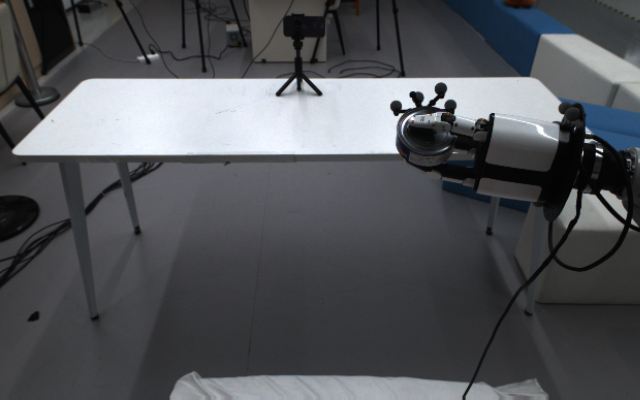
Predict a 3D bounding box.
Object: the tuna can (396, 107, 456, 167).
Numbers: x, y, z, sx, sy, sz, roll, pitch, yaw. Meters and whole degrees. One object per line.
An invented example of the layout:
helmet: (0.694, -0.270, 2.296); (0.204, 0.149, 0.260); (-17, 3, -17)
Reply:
tuna can: (0.151, -0.092, 0.690); (0.085, 0.034, 0.085); (-2, 58, 3)
